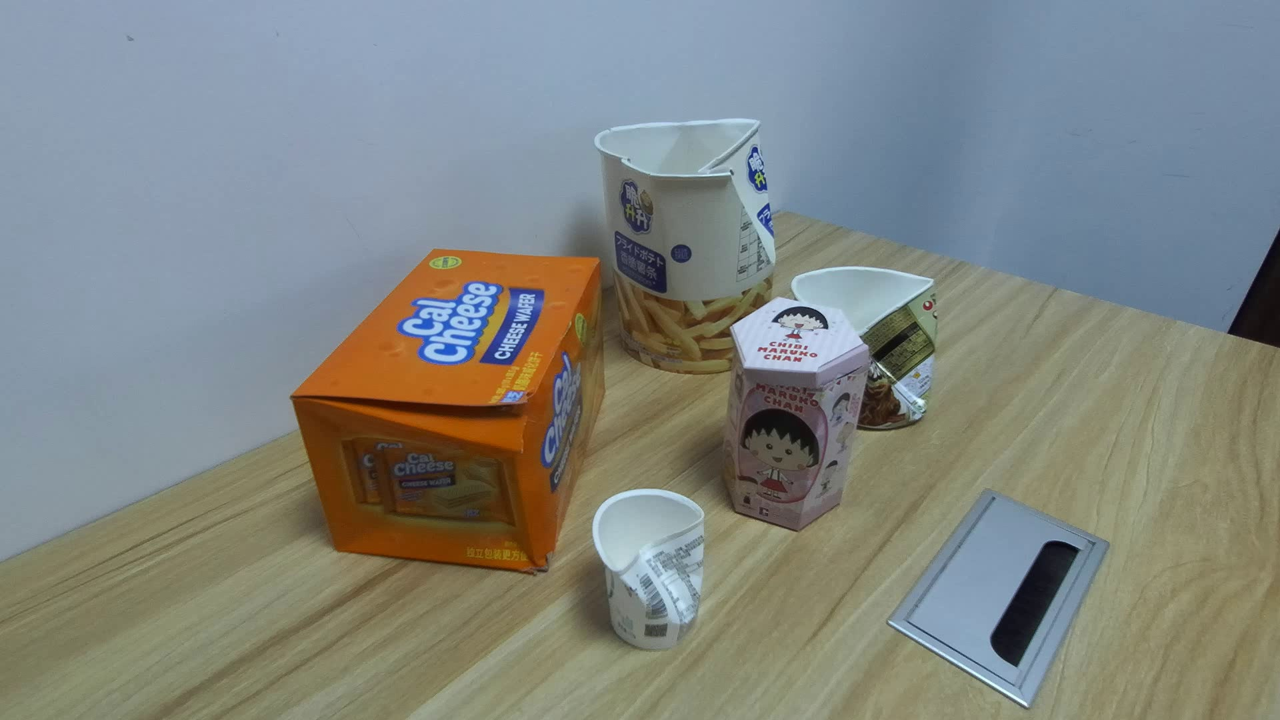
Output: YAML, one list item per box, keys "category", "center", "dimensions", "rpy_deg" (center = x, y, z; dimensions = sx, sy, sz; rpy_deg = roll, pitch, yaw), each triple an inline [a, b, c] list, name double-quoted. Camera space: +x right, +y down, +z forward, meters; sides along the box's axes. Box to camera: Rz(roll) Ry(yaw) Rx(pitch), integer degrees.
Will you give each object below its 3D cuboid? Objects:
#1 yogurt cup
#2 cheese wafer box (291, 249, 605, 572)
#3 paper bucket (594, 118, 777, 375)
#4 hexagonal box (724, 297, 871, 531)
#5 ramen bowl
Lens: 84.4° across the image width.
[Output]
- category: "yogurt cup"
  center: [0.006, 0.123, 0.412]
  dimensions: [0.067, 0.070, 0.067]
  rpy_deg: [-2, 33, 2]
- category: "cheese wafer box"
  center: [-0.116, 0.022, 0.516]
  dimensions: [0.149, 0.137, 0.227]
  rpy_deg: [5, 32, 6]
- category: "paper bucket"
  center: [0.054, -0.101, 0.651]
  dimensions: [0.169, 0.202, 0.162]
  rpy_deg: [-9, 34, -10]
- category: "hexagonal box"
  center: [0.104, 0.037, 0.486]
  dimensions: [0.092, 0.135, 0.085]
  rpy_deg: [14, 35, 22]
- category: "ramen bowl"
  center: [0.195, -0.015, 0.610]
  dimensions: [0.137, 0.098, 0.137]
  rpy_deg: [2, 31, -1]
